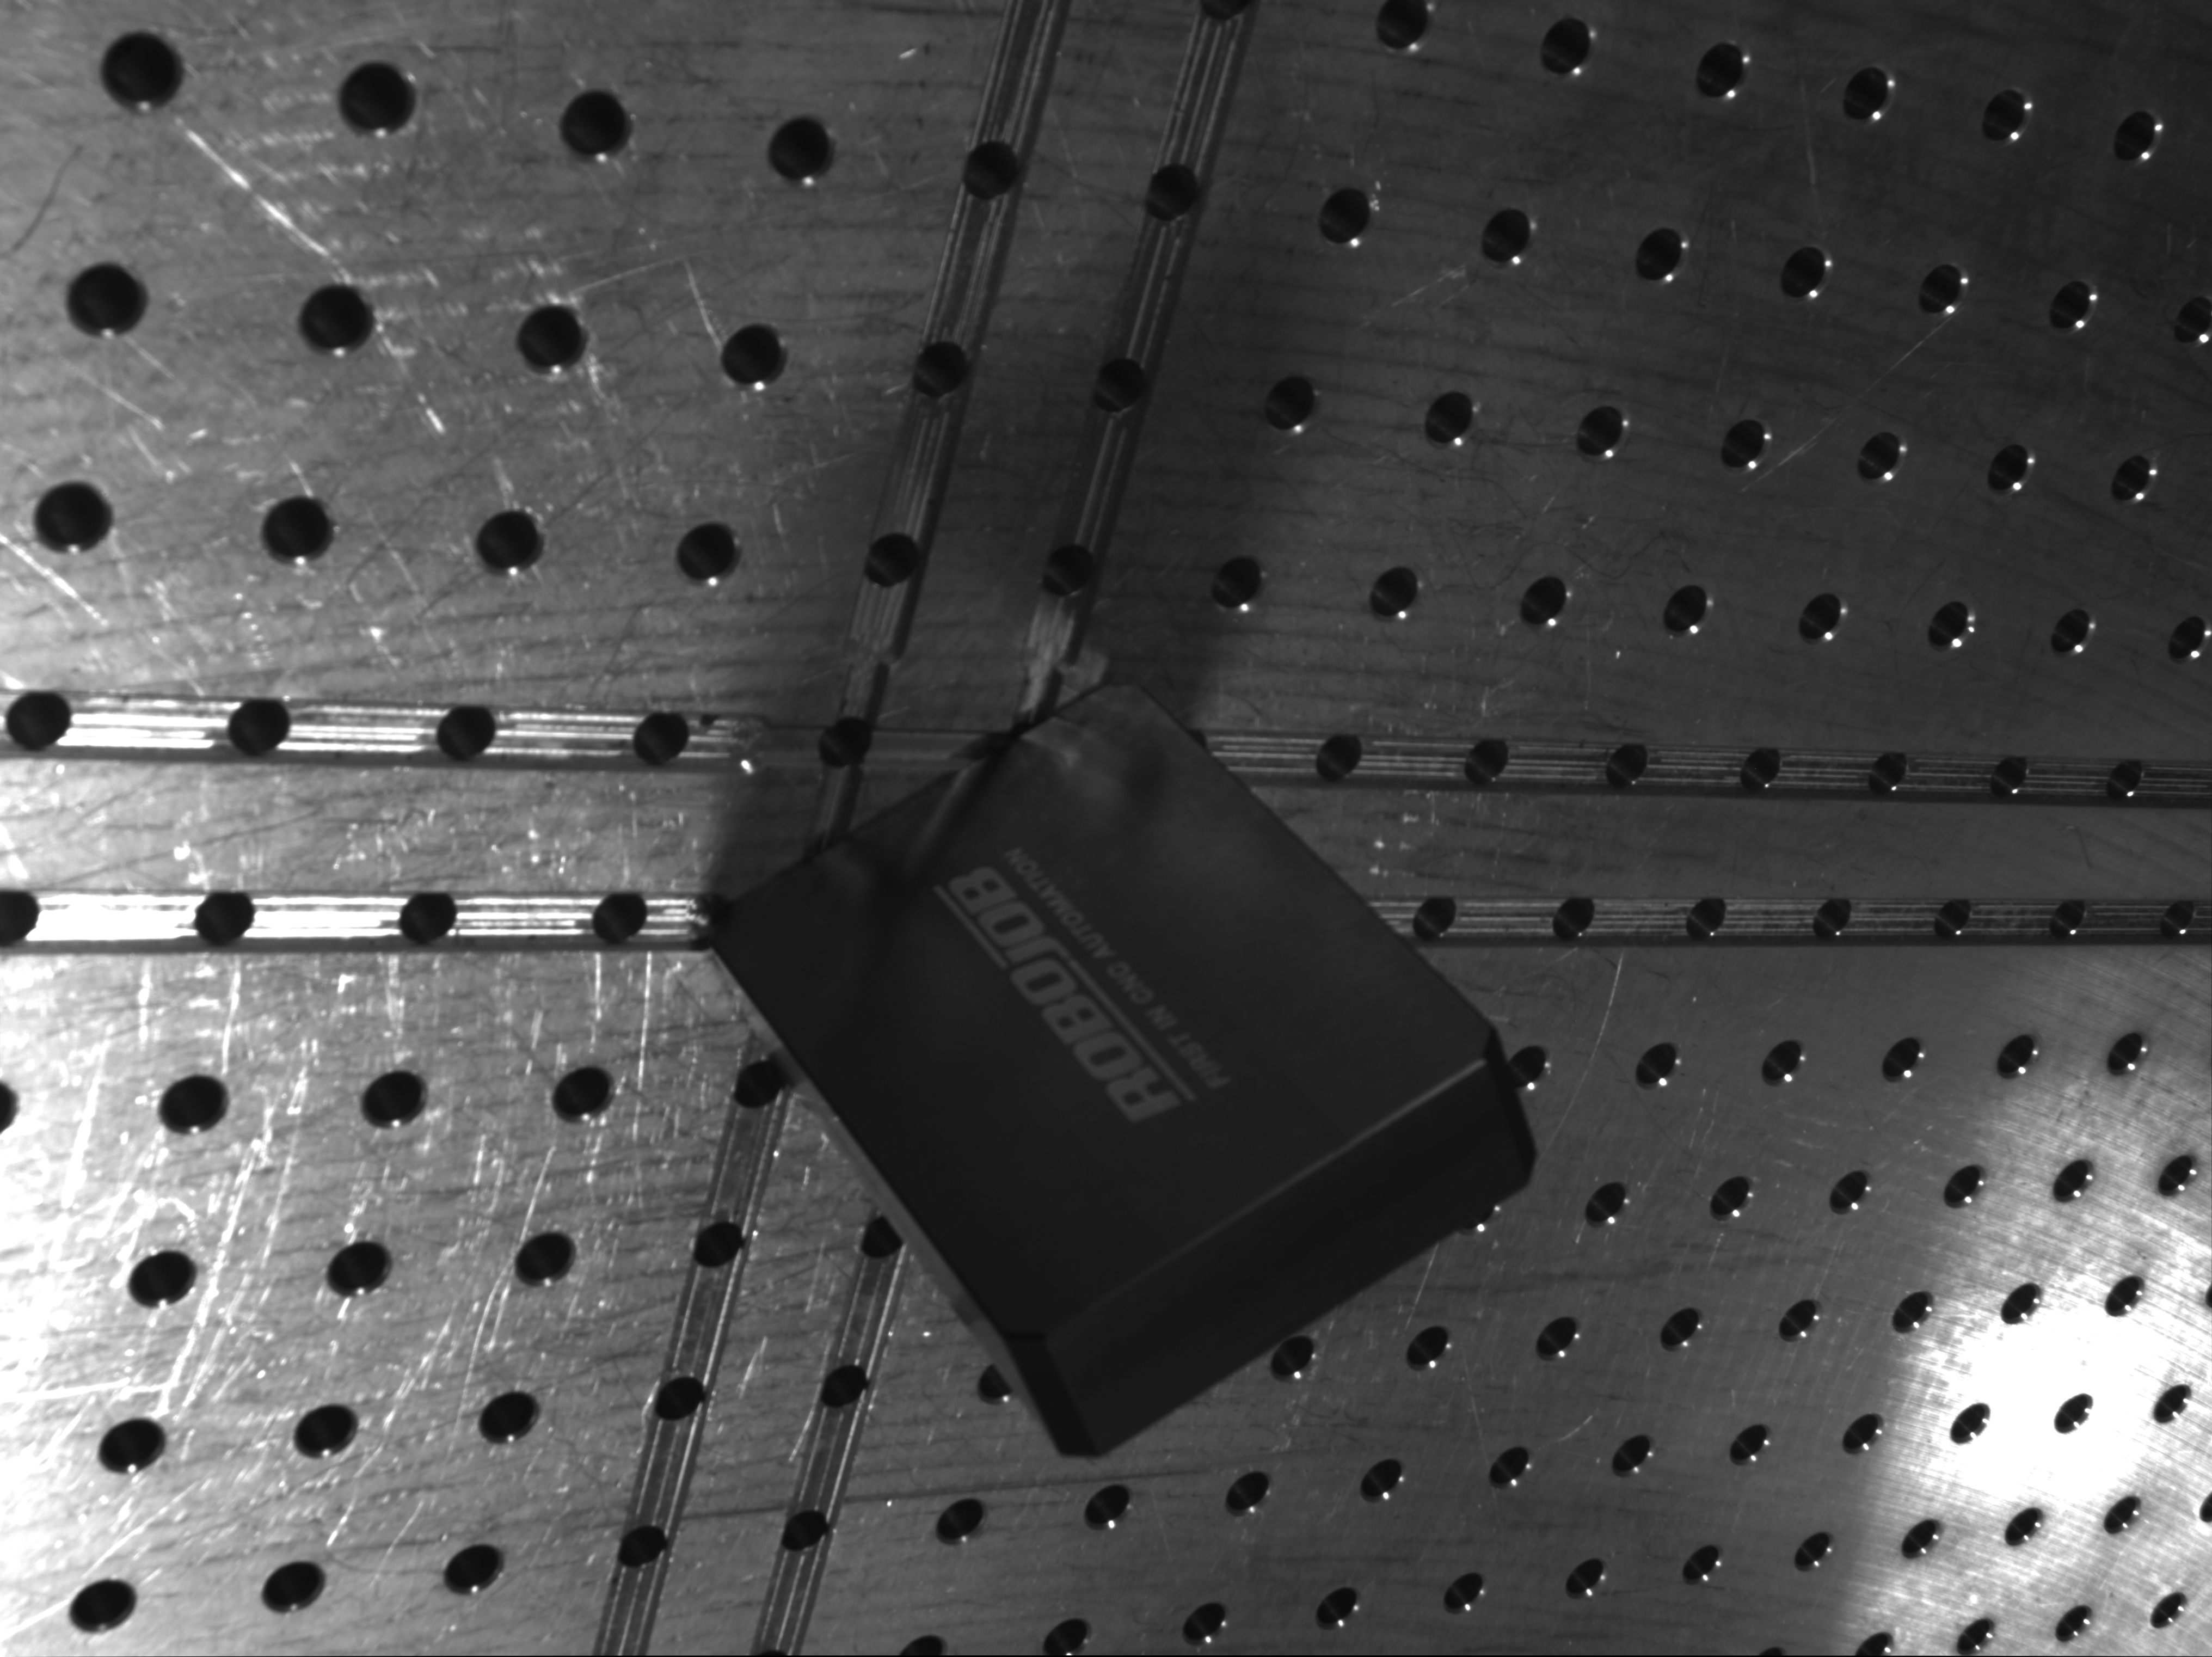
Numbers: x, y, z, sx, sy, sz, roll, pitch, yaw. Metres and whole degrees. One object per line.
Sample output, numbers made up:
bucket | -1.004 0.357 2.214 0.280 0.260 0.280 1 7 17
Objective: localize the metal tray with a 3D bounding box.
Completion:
metal tray | 0.006 0.036 0.611 0.090 0.130 0.030 -31 129 -10
